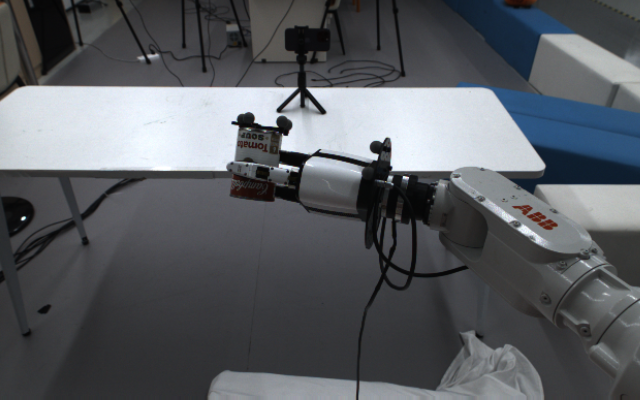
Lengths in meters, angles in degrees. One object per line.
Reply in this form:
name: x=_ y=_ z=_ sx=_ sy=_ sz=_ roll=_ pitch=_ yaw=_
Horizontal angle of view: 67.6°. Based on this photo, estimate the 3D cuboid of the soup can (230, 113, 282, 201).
soup can: x=-0.095 y=-0.051 z=0.721 sx=0.067 sy=0.101 sz=0.067 roll=7 pitch=4 yaw=0
